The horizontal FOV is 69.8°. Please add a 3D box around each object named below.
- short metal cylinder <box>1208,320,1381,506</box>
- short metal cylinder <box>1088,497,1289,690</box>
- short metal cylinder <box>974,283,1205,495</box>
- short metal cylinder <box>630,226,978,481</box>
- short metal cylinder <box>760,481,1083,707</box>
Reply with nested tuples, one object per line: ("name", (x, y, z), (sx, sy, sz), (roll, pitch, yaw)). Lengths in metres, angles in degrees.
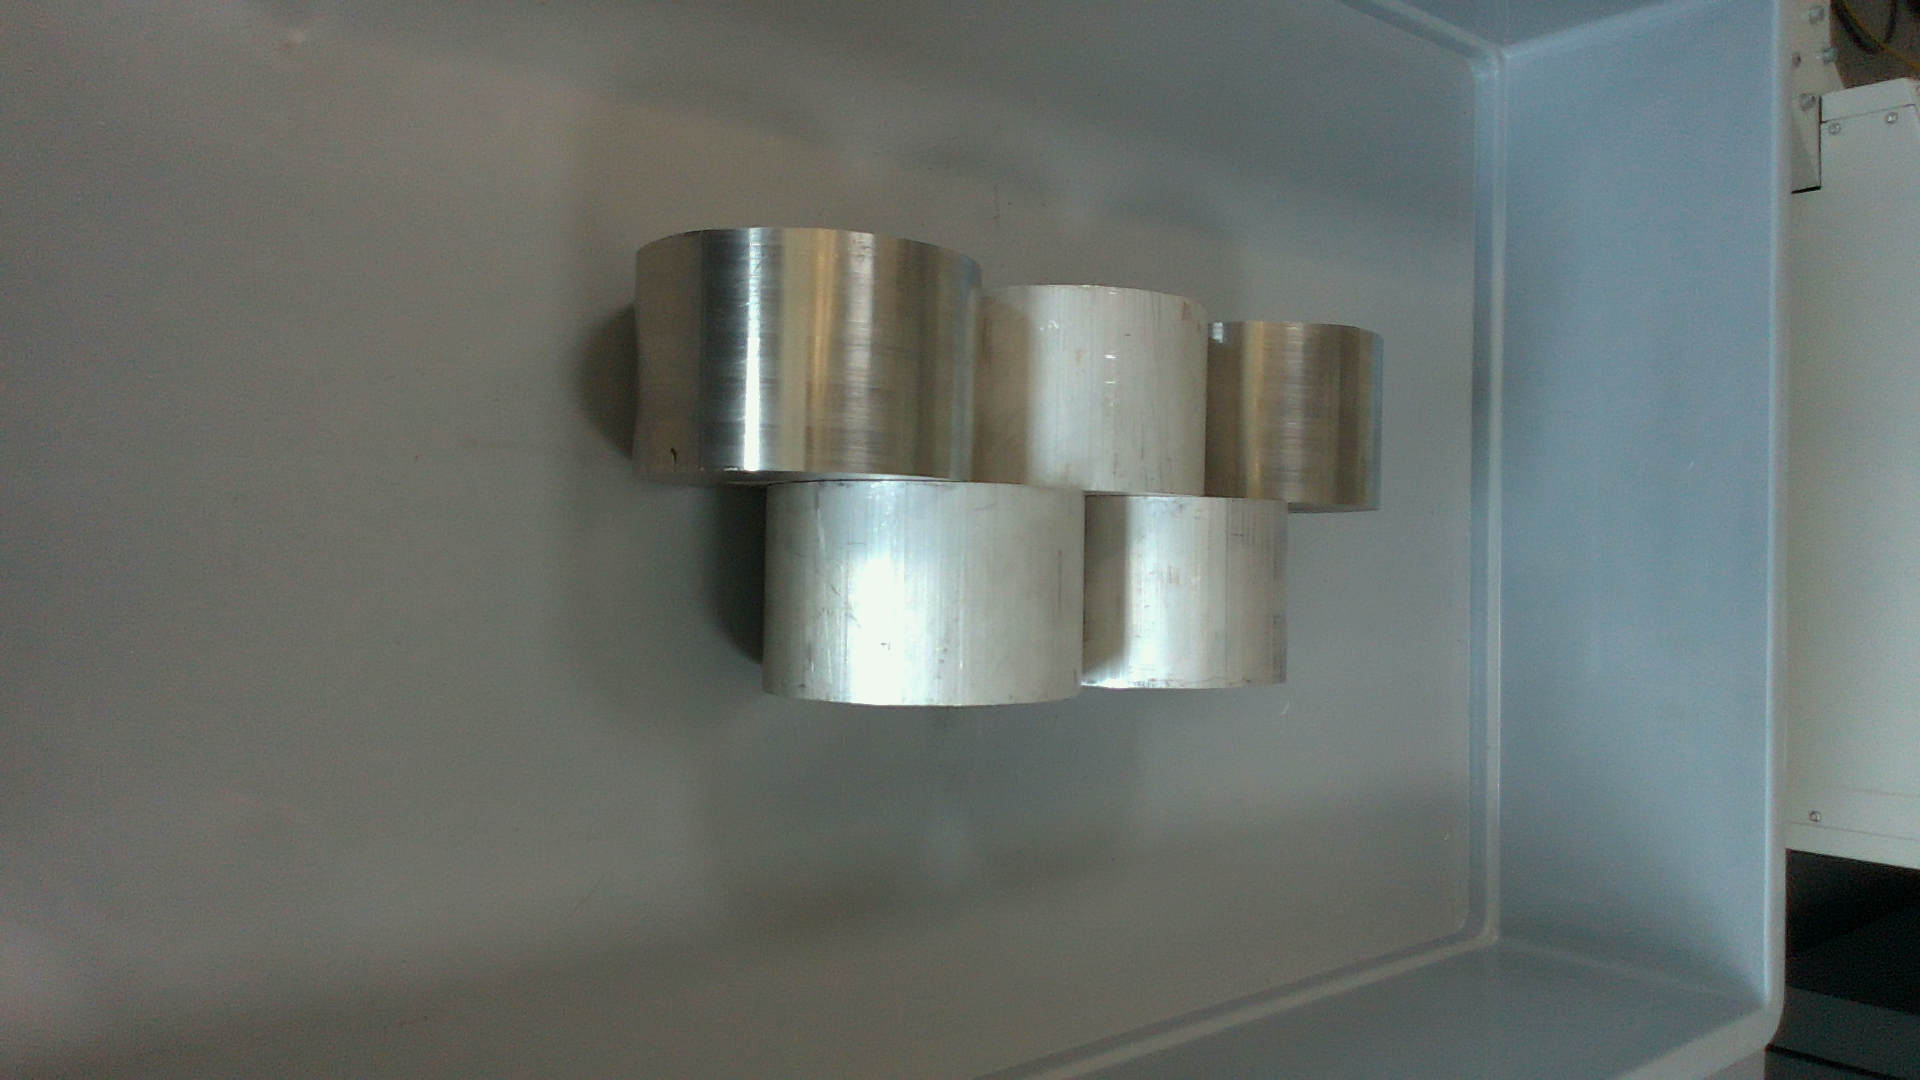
("short metal cylinder", (0.088, -0.036, 0.425), (0.080, 0.080, 0.050), (2, 89, -40))
("short metal cylinder", (0.054, 0.014, 0.396), (0.080, 0.080, 0.050), (1, 89, -40))
("short metal cylinder", (0.026, -0.037, 0.373), (0.080, 0.080, 0.050), (1, 89, -40))
("short metal cylinder", (-0.036, -0.039, 0.322), (0.080, 0.080, 0.050), (1, 89, -40))
("short metal cylinder", (-0.009, 0.012, 0.344), (0.080, 0.080, 0.050), (1, 89, -40))
